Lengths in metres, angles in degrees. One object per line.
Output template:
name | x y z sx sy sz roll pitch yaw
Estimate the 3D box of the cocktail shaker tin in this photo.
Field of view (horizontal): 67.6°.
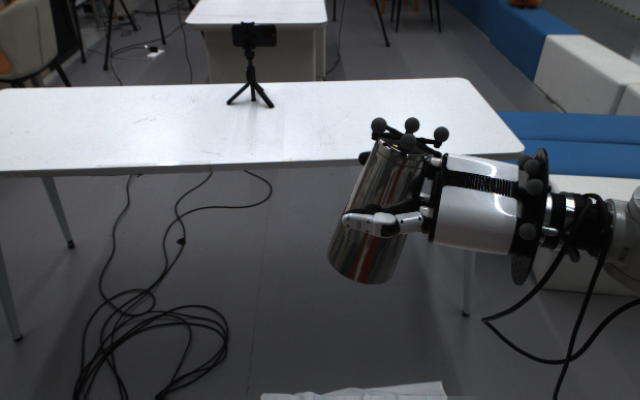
cocktail shaker tin | 0.078 0.007 0.591 0.093 0.170 0.093 12 29 -7
